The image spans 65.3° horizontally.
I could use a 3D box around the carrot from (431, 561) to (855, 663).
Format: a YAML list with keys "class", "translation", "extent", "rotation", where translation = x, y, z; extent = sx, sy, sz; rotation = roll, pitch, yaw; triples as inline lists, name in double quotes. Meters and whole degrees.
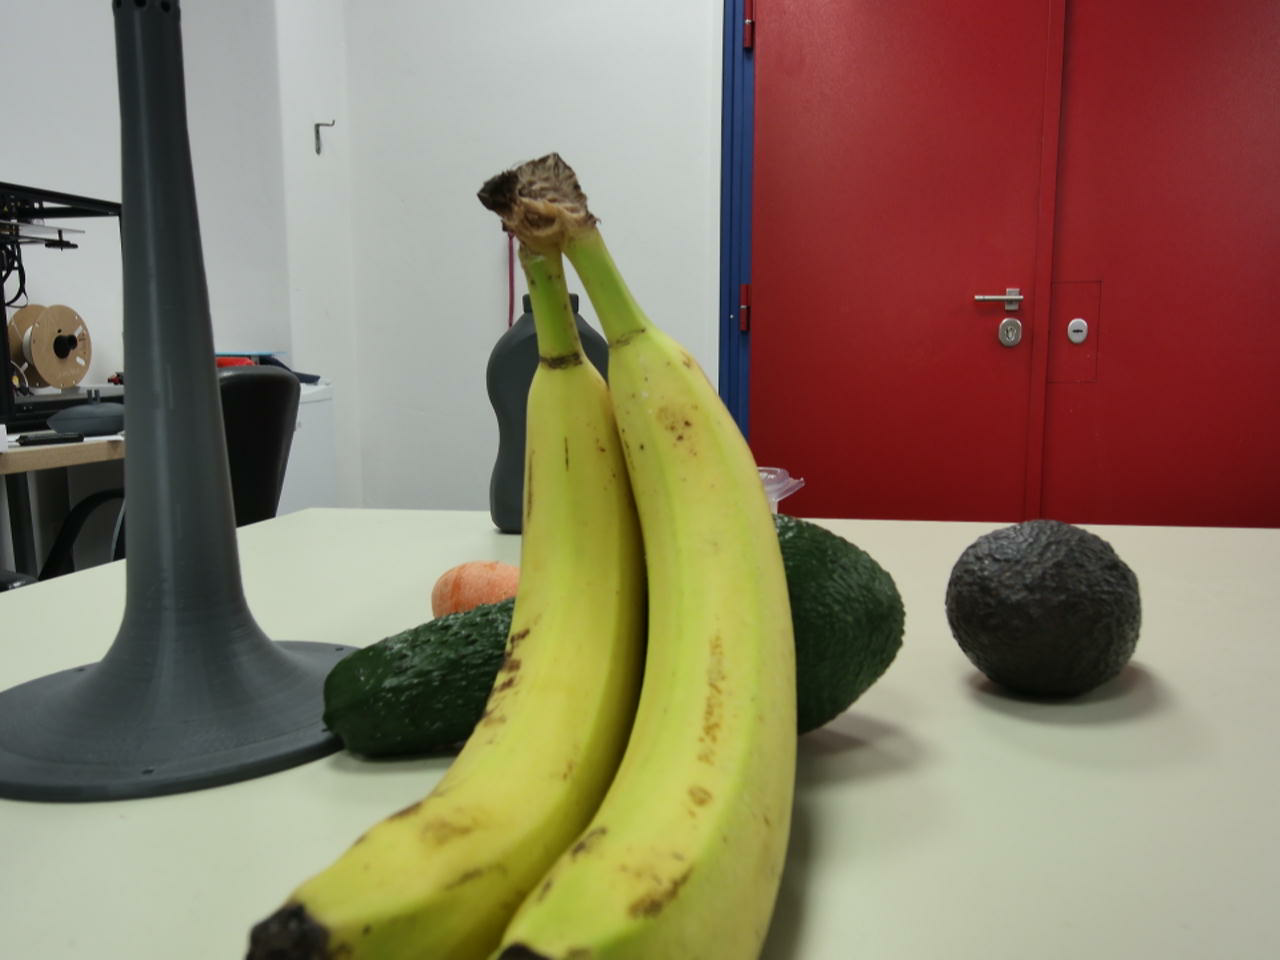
- class: "carrot"
  translation: [-0.003, 0.059, 0.461]
  extent: [0.196, 0.041, 0.039]
  rotation: [1, 5, 12]
